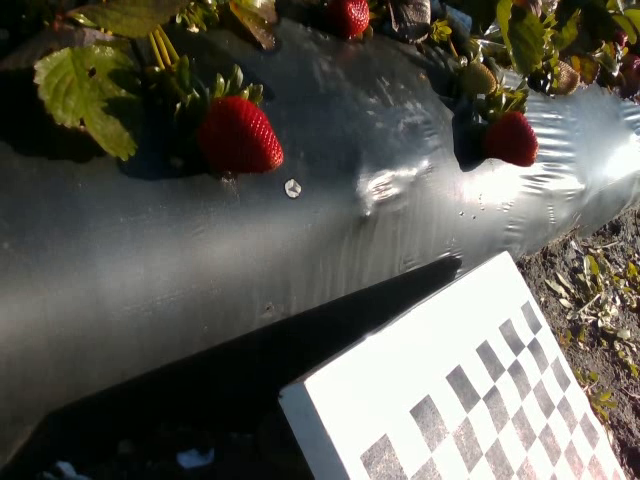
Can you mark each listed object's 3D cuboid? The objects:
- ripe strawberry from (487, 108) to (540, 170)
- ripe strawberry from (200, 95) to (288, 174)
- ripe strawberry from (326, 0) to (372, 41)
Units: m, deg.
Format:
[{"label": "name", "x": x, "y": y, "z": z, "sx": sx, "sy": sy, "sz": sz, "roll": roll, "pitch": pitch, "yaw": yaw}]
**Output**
[{"label": "ripe strawberry", "x": 0.153, "y": -0.076, "z": 0.480, "sx": 0.042, "sy": 0.059, "sz": 0.042, "roll": -39, "pitch": -34, "yaw": 27}, {"label": "ripe strawberry", "x": -0.036, "y": -0.048, "z": 0.294, "sx": 0.055, "sy": 0.042, "sz": 0.045, "roll": 40, "pitch": 23, "yaw": 27}, {"label": "ripe strawberry", "x": 0.022, "y": -0.165, "z": 0.433, "sx": 0.035, "sy": 0.035, "sz": 0.046, "roll": -30, "pitch": -7, "yaw": 28}]
